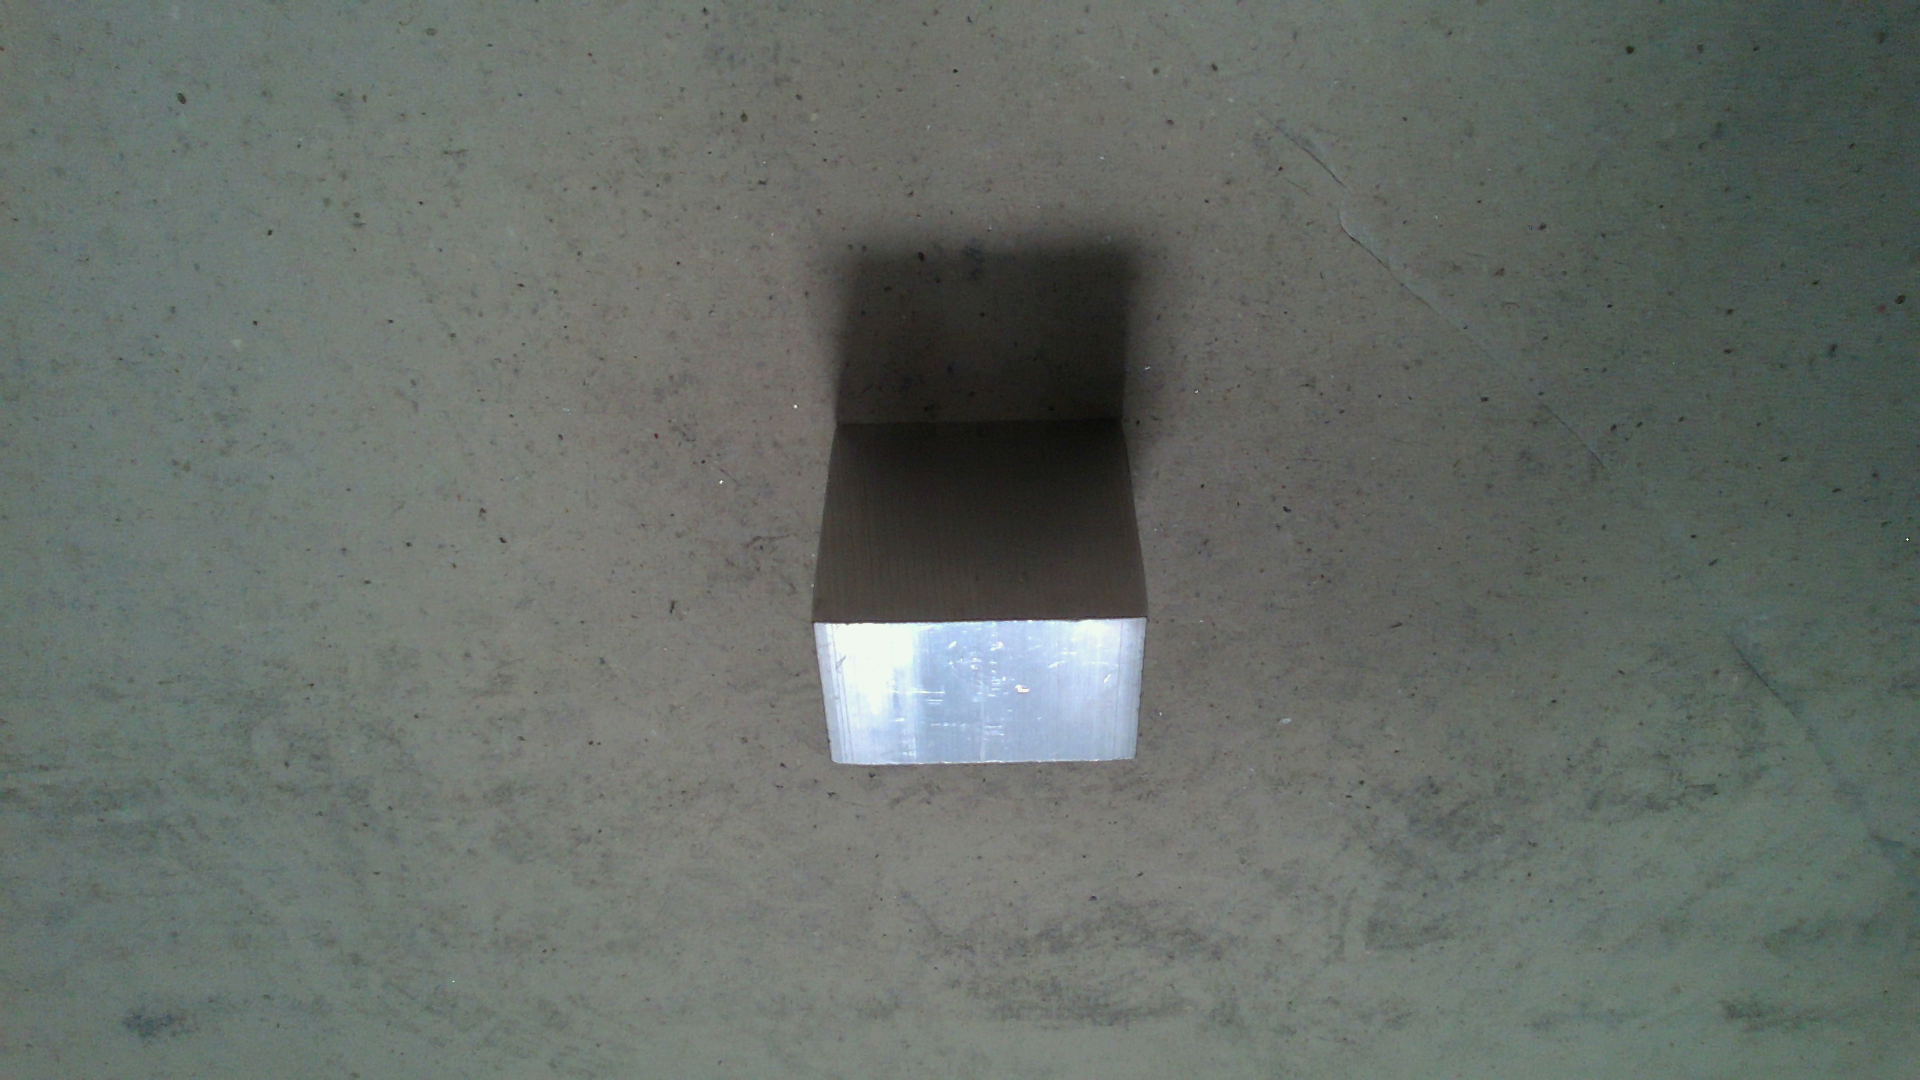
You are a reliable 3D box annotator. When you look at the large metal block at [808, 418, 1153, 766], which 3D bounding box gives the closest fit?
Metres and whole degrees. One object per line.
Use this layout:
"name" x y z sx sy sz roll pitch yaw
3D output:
"large metal block" 0.006 0.012 0.365 0.080 0.080 0.050 -1 130 1
